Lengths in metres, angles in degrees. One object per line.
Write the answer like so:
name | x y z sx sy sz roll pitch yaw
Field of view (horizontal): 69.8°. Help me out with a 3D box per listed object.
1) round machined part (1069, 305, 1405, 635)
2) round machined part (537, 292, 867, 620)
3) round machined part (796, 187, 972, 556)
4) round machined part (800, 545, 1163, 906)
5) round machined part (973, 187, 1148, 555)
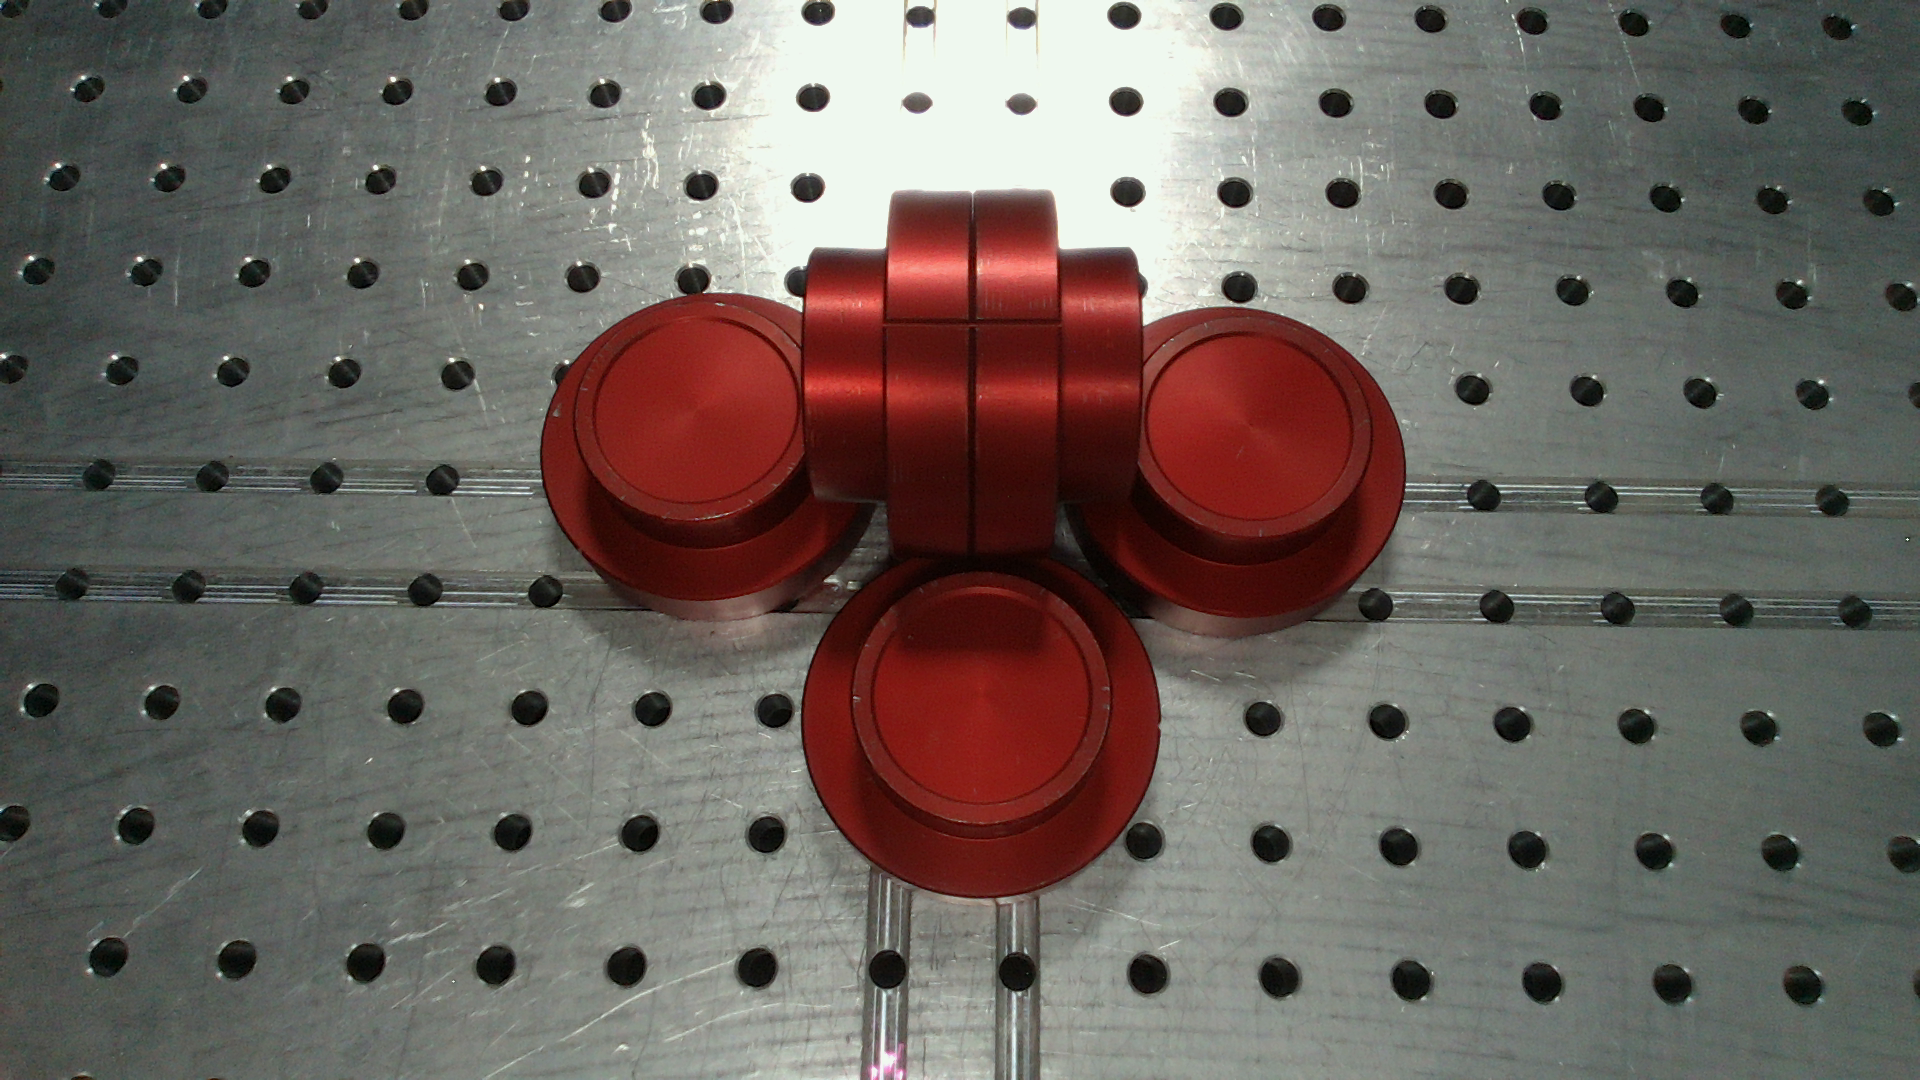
round machined part | 0.080 -0.025 0.397 0.098 0.042 0.098 0 70 0
round machined part | -0.073 -0.029 0.398 0.098 0.042 0.098 0 70 0
round machined part | -0.019 -0.045 0.368 0.042 0.098 0.098 1 70 1
round machined part | 0.006 0.047 0.371 0.098 0.042 0.098 0 70 0
round machined part | 0.025 -0.045 0.369 0.042 0.098 0.098 -1 70 0
